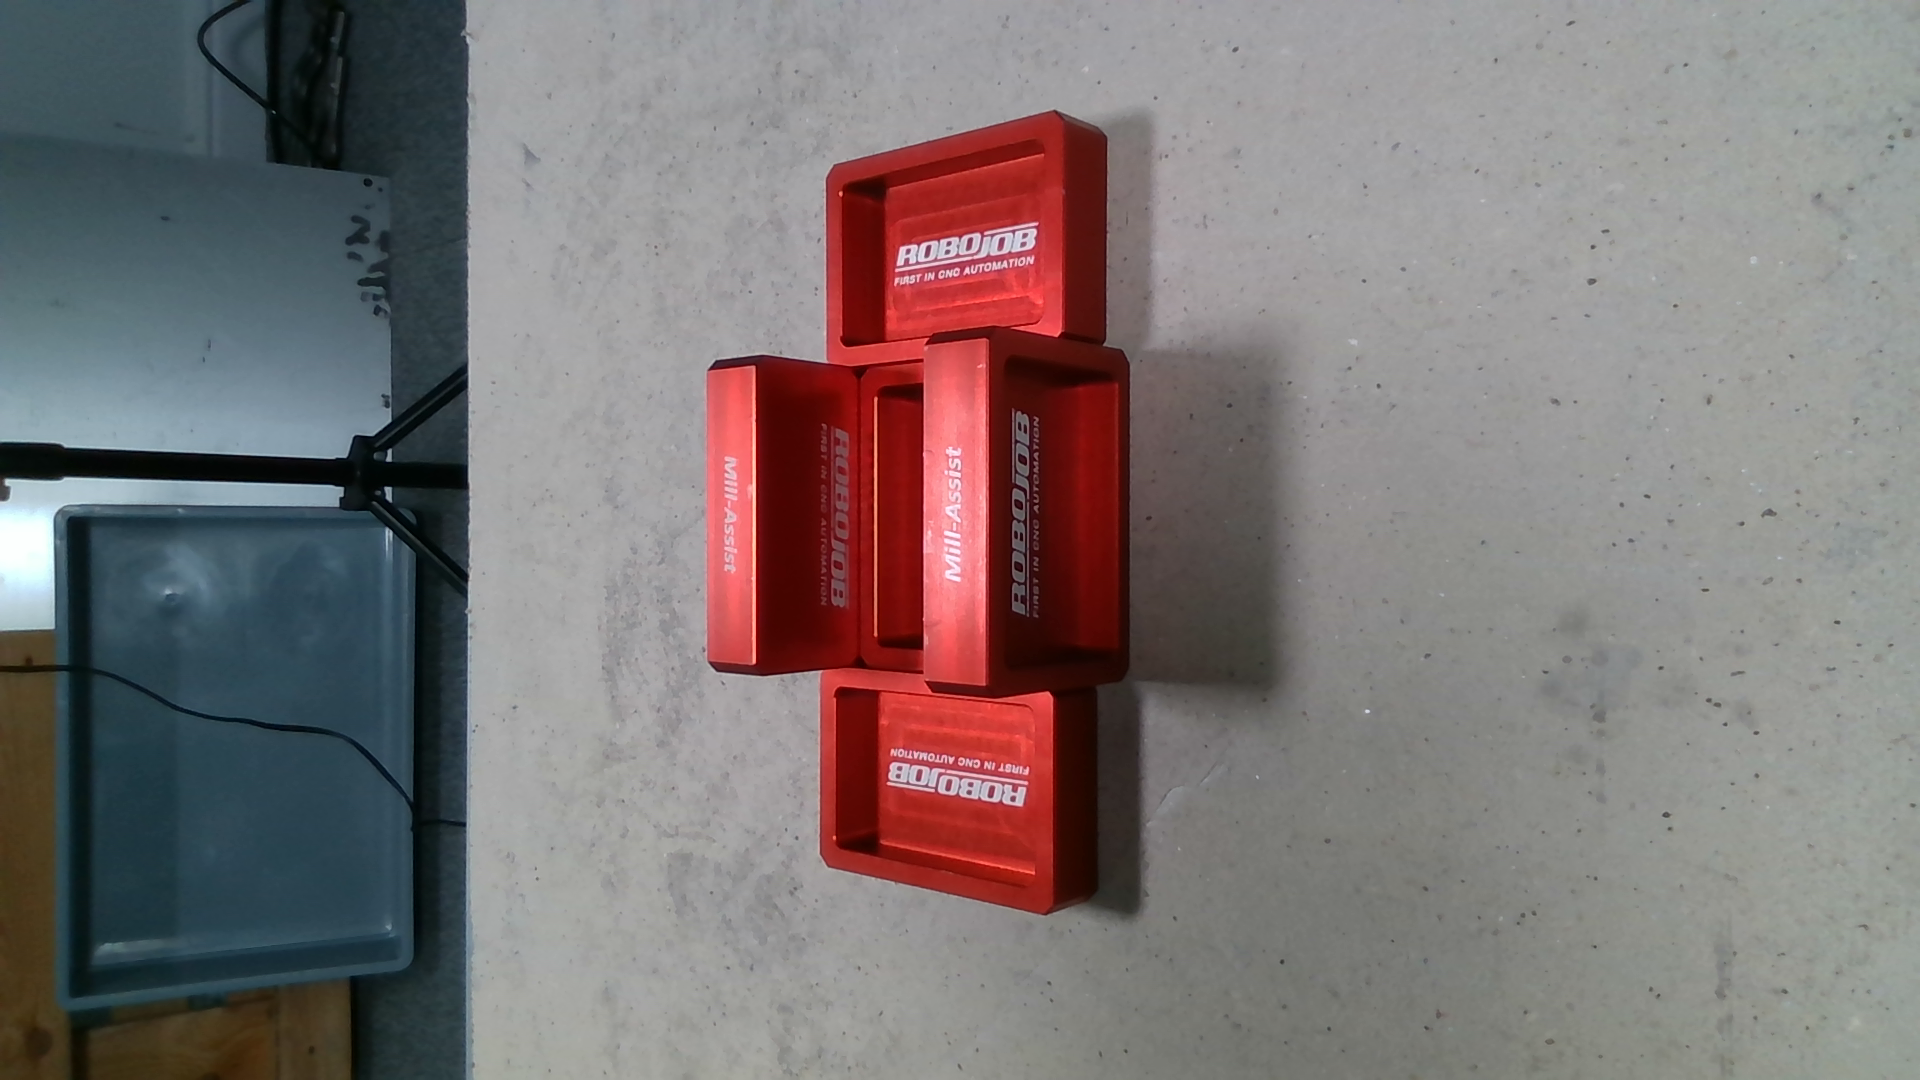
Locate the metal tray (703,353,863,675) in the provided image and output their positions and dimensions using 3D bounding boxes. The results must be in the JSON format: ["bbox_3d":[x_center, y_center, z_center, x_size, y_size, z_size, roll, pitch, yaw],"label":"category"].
[{"bbox_3d":[-0.066,-0.011,0.594,0.030,0.090,0.130,1,91,40],"label":"metal tray"}]

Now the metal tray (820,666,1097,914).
[{"bbox_3d":[-0.004,0.100,0.583,0.130,0.030,0.090,1,91,40],"label":"metal tray"}]

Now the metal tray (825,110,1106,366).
[{"bbox_3d":[-0.001,-0.120,0.578,0.130,0.030,0.090,1,91,40],"label":"metal tray"}]

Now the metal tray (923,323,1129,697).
[{"bbox_3d":[0.027,-0.010,0.517,0.030,0.090,0.130,0,91,40],"label":"metal tray"}]

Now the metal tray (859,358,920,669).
[{"bbox_3d":[0.000,-0.011,0.579,0.090,0.030,0.130,1,91,40],"label":"metal tray"}]
